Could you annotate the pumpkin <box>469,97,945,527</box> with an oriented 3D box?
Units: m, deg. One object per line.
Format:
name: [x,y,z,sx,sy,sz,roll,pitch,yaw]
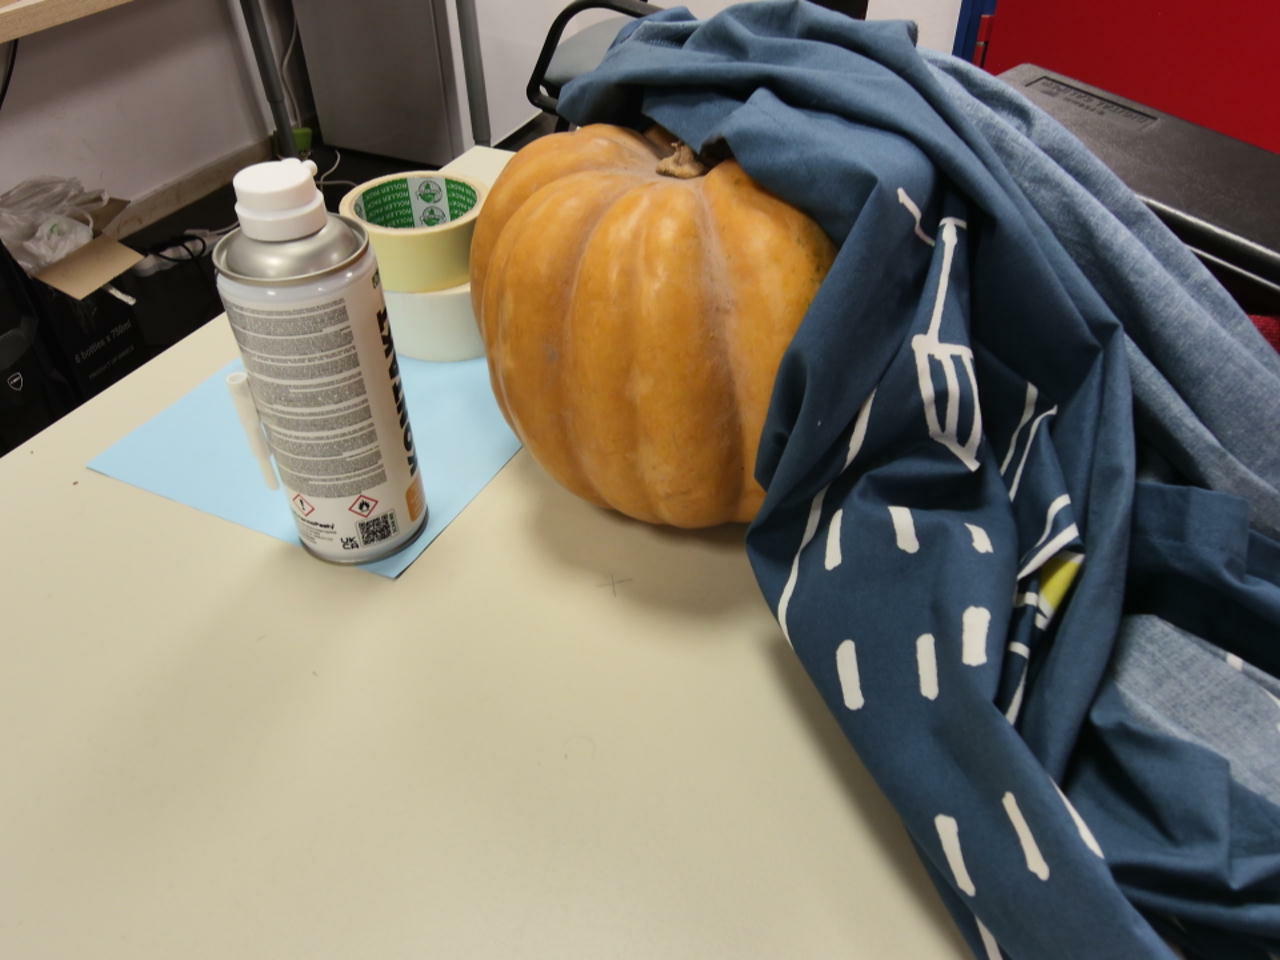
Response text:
pumpkin: [0.033,-0.082,0.491,0.230,0.194,0.230,0,38,0]
